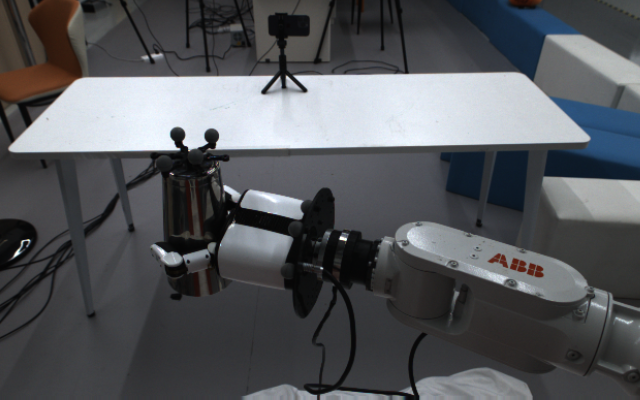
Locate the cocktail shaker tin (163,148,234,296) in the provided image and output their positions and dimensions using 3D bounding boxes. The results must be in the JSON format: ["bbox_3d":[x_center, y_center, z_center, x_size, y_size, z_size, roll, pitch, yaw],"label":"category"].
[{"bbox_3d":[-0.152,0.027,0.608,0.093,0.170,0.093,3,34,-2],"label":"cocktail shaker tin"}]
